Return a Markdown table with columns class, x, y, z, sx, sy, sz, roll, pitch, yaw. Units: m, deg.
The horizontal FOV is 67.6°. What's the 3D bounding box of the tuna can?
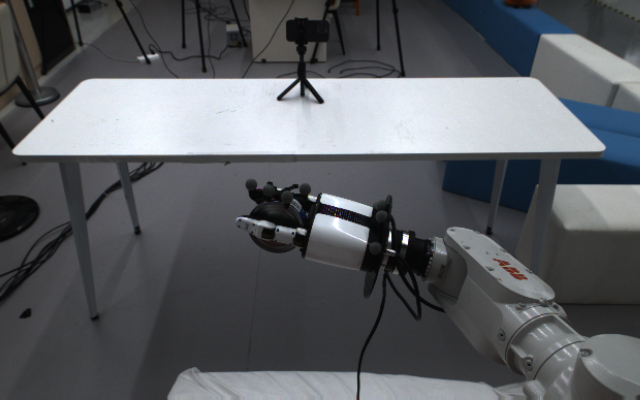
| class | x | y | z | sx | sy | sz | roll | pitch | yaw |
| --- | --- | --- | --- | --- | --- | --- | --- | --- | --- |
| tuna can | -0.063 | 0.035 | 0.726 | 0.085 | 0.085 | 0.034 | 6 | 22 | 6 |
